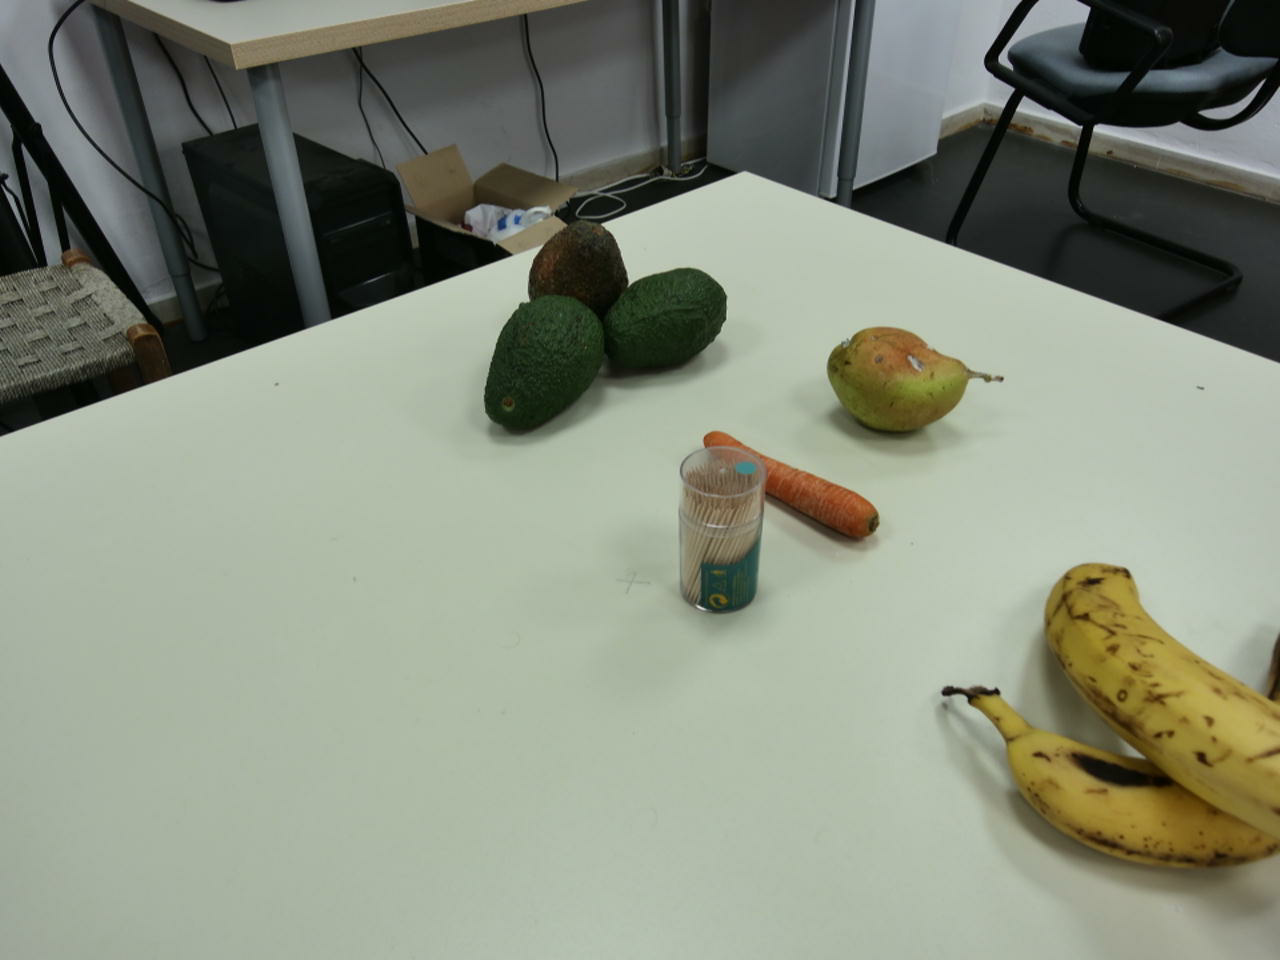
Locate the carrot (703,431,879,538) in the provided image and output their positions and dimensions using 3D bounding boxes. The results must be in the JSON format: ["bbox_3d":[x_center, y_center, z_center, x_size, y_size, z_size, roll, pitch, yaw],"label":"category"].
[{"bbox_3d":[0.081,0.000,0.560,0.024,0.023,0.122,-29,45,-34],"label":"carrot"}]
